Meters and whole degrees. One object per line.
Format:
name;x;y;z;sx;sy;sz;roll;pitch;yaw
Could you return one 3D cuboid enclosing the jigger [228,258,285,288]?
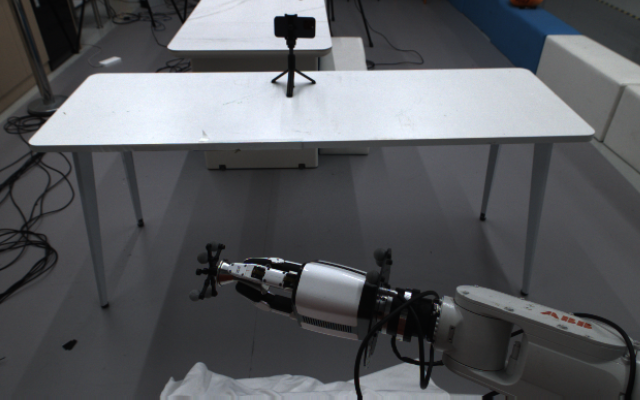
jigger;-0.101;0.104;0.687;0.071;0.043;0.043;6;35;13
